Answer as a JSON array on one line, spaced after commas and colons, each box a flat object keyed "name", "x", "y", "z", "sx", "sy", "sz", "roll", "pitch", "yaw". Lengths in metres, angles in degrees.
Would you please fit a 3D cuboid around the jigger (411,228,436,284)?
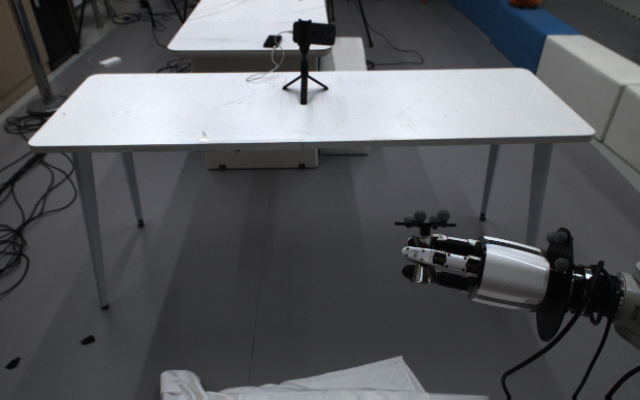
[{"name": "jigger", "x": 0.154, "y": 0.086, "z": 0.712, "sx": 0.043, "sy": 0.071, "sz": 0.043, "roll": 1, "pitch": -6, "yaw": 0}]
